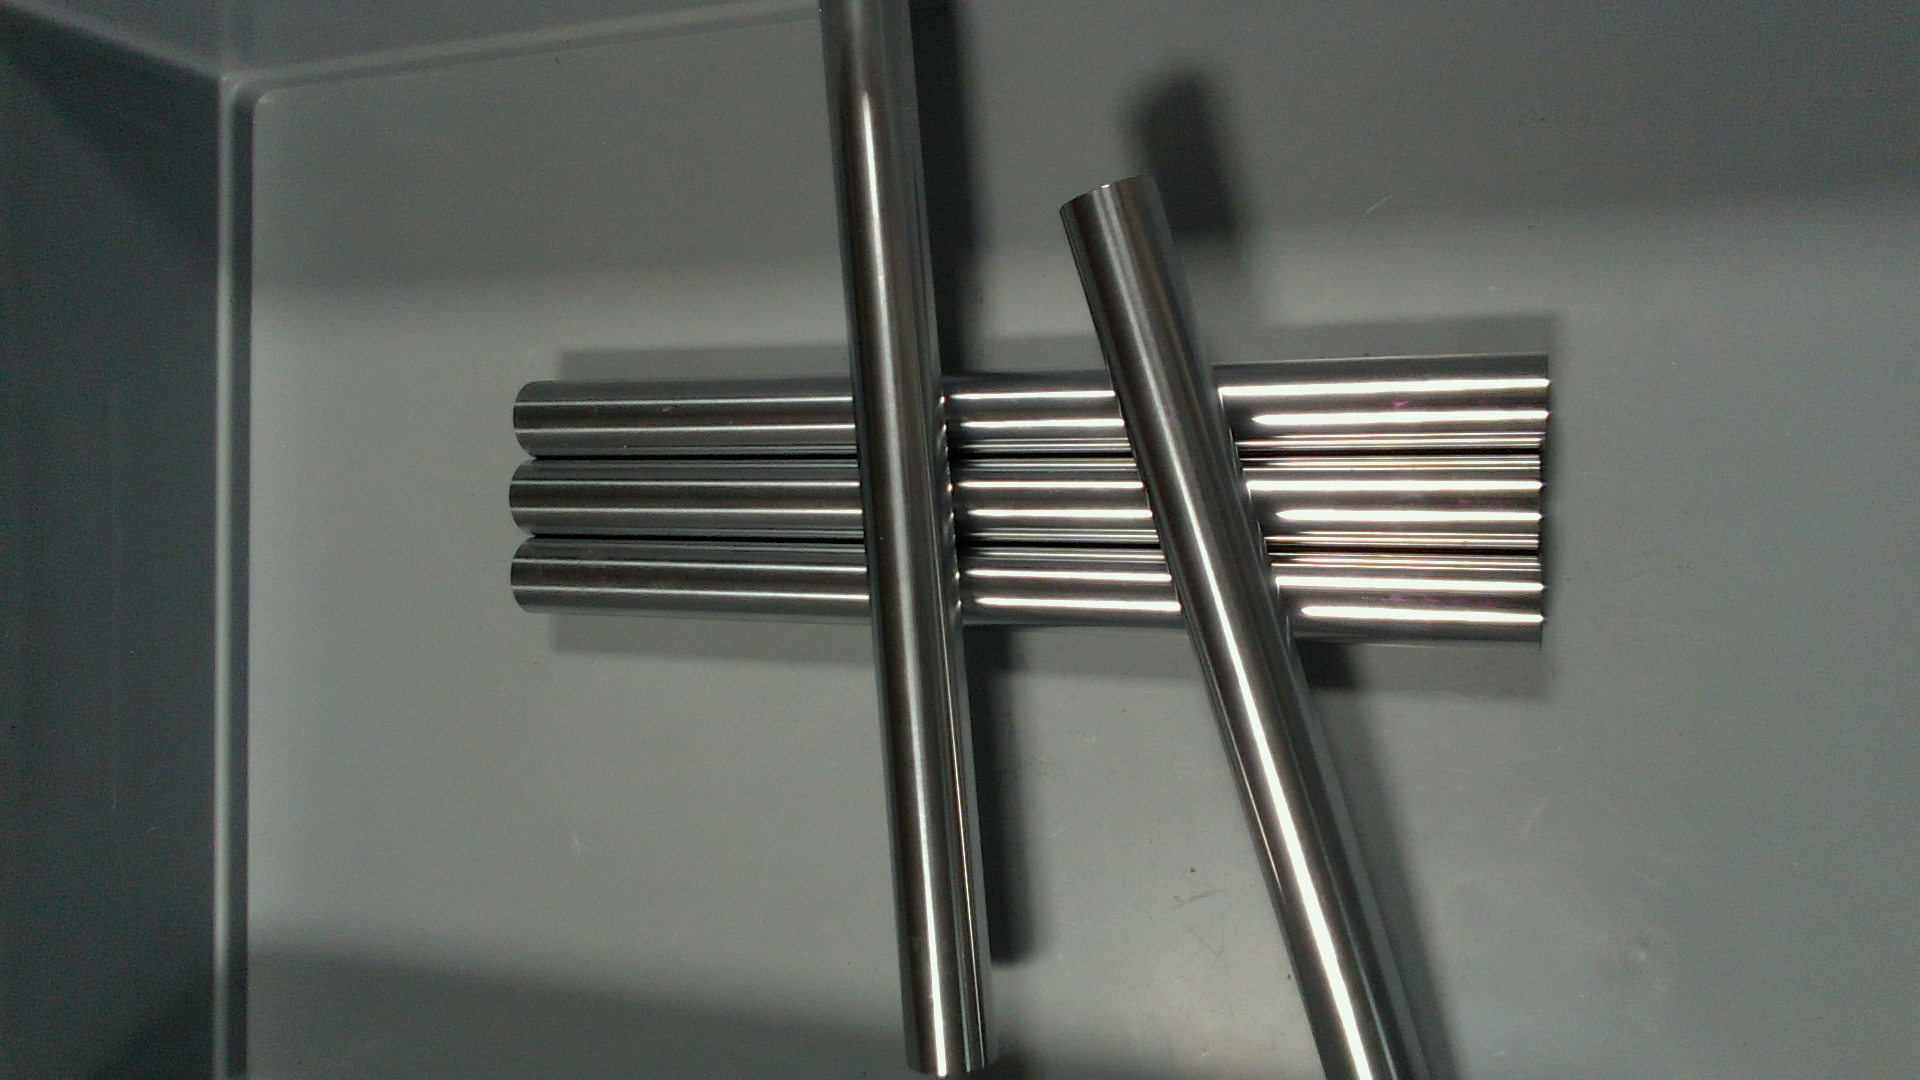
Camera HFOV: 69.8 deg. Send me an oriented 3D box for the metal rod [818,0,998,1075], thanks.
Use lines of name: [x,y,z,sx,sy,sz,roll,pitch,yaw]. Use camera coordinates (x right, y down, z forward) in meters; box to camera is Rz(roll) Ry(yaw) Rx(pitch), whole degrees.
metal rod: [-0.015,-0.010,0.373,0.025,0.025,0.300,-5,88,20]

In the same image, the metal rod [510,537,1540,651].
metal rod: [0.003,0.013,0.394,0.299,0.025,0.025,1,90,20]

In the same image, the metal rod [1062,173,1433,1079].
metal rod: [0.081,0.057,0.344,0.025,0.025,0.300,-17,91,19]

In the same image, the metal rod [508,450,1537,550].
metal rod: [0.003,-0.012,0.394,0.299,0.025,0.025,1,90,20]

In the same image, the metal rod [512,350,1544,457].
metal rod: [0.004,-0.037,0.393,0.299,0.025,0.025,1,90,20]
